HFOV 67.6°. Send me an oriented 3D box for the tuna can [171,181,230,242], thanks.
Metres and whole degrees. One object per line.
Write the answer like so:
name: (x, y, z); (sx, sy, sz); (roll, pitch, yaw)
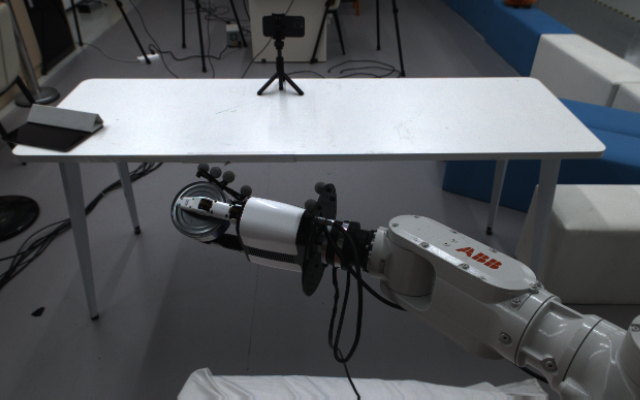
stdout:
tuna can: (-0.173, 0.019, 0.716); (0.085, 0.034, 0.085); (-2, 70, 6)
